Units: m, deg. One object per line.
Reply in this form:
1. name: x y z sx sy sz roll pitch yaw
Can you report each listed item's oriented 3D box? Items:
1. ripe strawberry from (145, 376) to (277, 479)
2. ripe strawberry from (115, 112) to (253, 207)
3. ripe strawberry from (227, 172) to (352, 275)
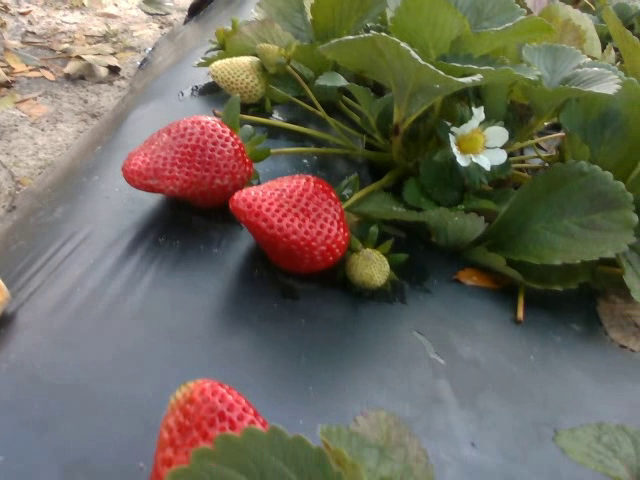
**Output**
1. ripe strawberry: -0.030 0.055 0.164 0.047 0.053 0.038 -29 -30 4
2. ripe strawberry: -0.069 -0.037 0.299 0.065 0.043 0.058 -26 17 -40
3. ripe strawberry: -0.017 -0.011 0.268 0.050 0.051 0.059 -5 -15 43
